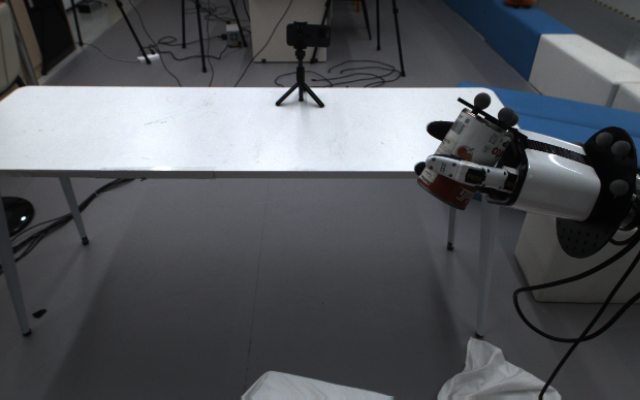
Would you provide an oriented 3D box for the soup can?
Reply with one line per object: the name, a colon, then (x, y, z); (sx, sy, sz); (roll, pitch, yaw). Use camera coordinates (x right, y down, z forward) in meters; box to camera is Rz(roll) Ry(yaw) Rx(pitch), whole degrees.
soup can: (0.171, -0.049, 0.572); (0.067, 0.101, 0.067); (27, 18, -9)
